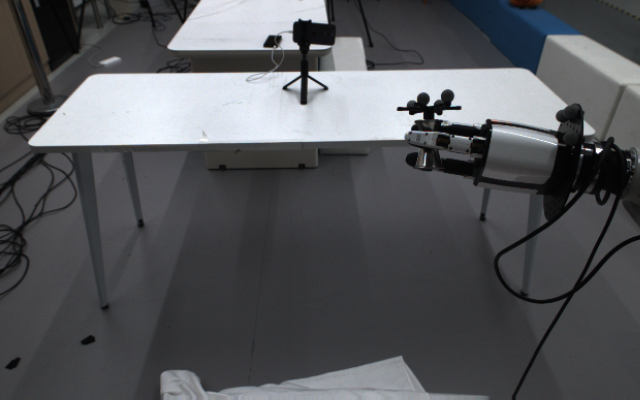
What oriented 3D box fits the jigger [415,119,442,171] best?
[{"bbox_3d":[0.154,-0.080,0.693,0.043,0.071,0.043,-1,2,0],"label":"jigger"}]
